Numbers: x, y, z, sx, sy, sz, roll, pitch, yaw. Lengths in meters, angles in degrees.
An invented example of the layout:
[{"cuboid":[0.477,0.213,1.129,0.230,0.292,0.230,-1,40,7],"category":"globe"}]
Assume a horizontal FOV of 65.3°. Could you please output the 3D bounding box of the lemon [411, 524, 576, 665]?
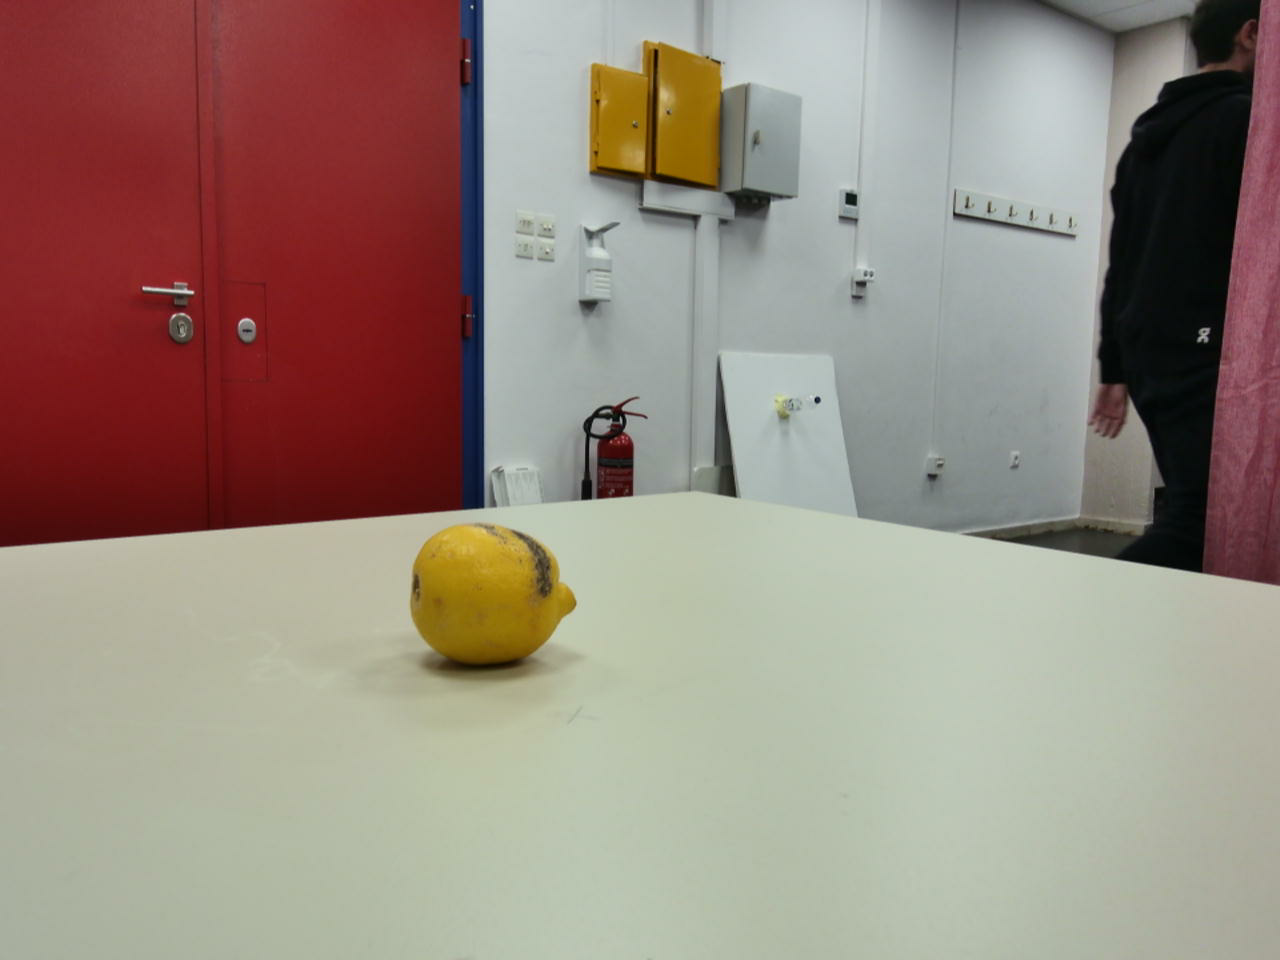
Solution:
[{"cuboid":[-0.062,0.046,0.405,0.058,0.056,0.061,4,6,44],"category":"lemon"}]
